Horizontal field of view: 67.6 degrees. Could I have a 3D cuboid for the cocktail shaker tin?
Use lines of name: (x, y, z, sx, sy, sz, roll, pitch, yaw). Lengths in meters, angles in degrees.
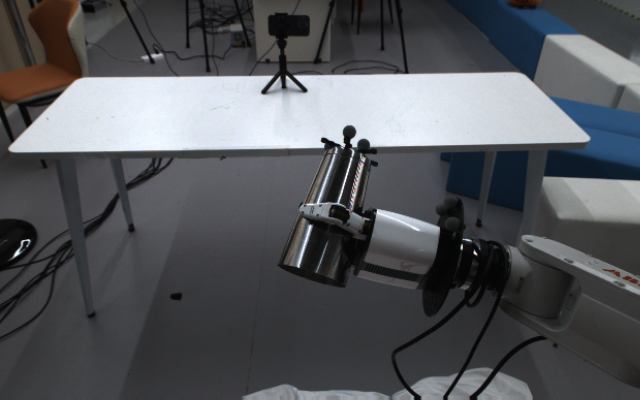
cocktail shaker tin: (0.013, 0.020, 0.639, 0.093, 0.093, 0.170, 14, 74, 17)
